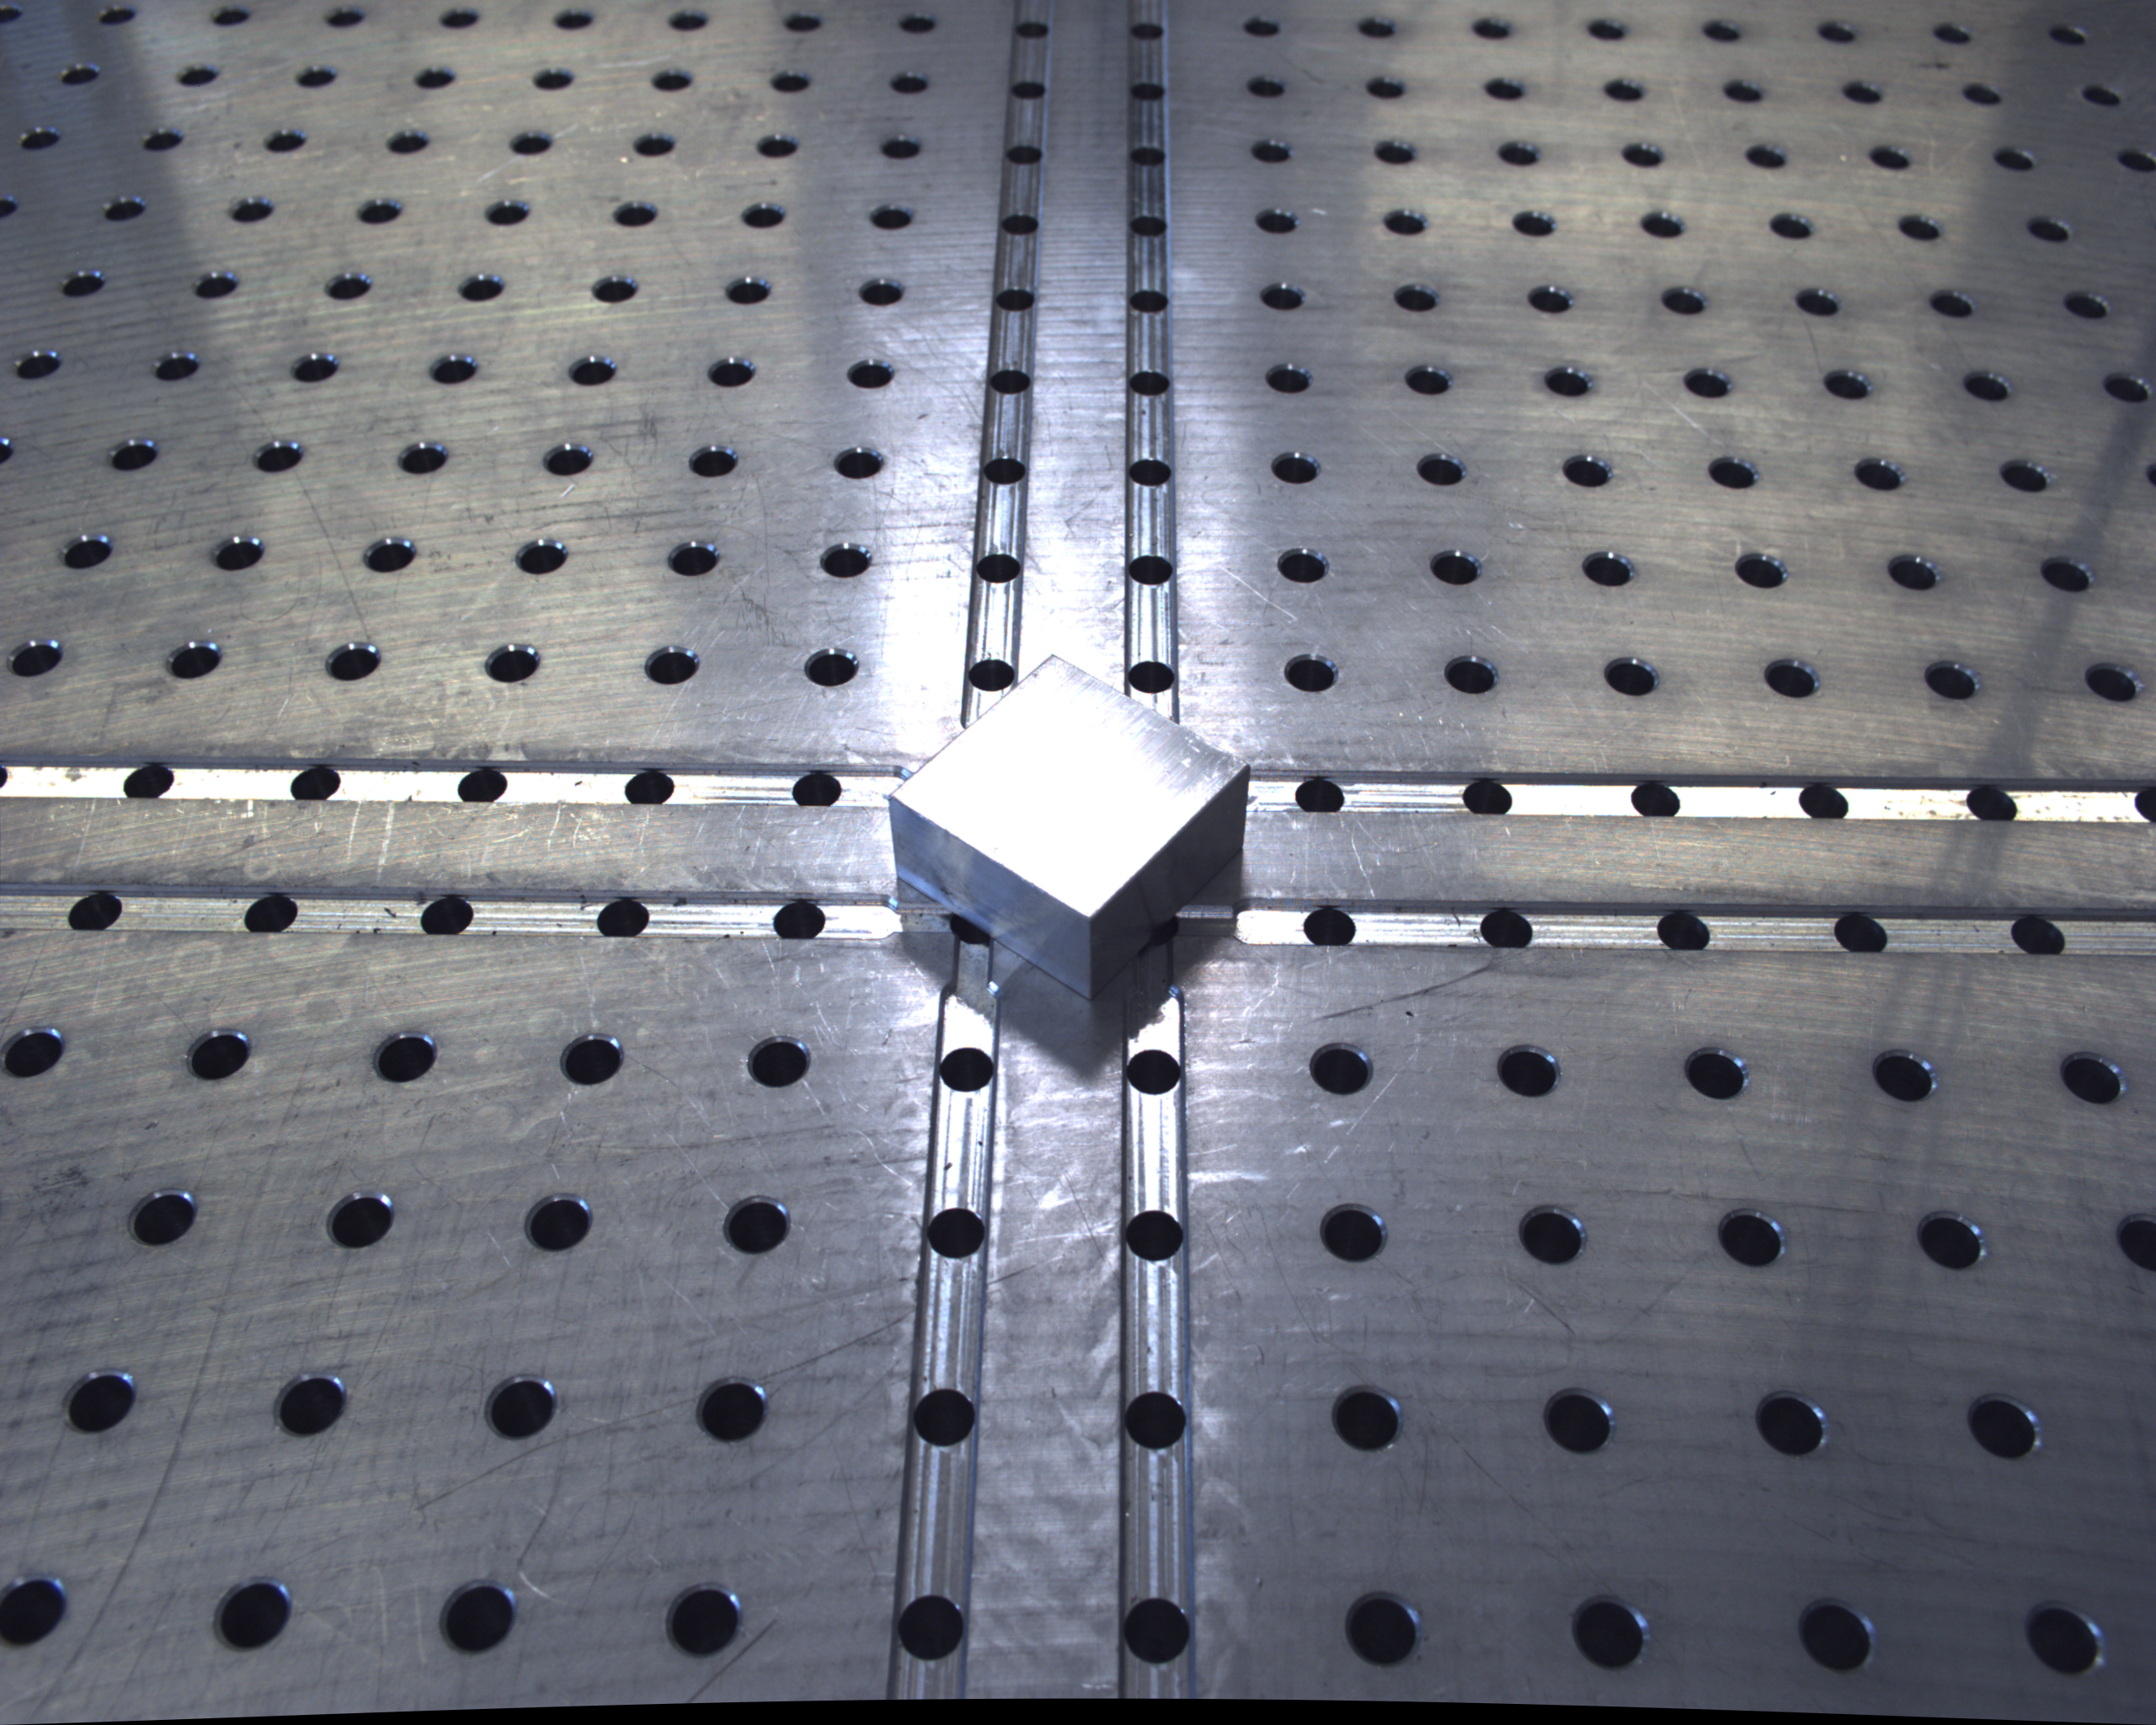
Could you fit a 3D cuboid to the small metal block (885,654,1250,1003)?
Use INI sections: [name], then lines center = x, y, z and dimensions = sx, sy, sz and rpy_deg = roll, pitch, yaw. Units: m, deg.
[small metal block]
center = -0.002, -0.008, 0.415
dimensions = 0.050, 0.025, 0.050
rpy_deg = 32, 57, 23
